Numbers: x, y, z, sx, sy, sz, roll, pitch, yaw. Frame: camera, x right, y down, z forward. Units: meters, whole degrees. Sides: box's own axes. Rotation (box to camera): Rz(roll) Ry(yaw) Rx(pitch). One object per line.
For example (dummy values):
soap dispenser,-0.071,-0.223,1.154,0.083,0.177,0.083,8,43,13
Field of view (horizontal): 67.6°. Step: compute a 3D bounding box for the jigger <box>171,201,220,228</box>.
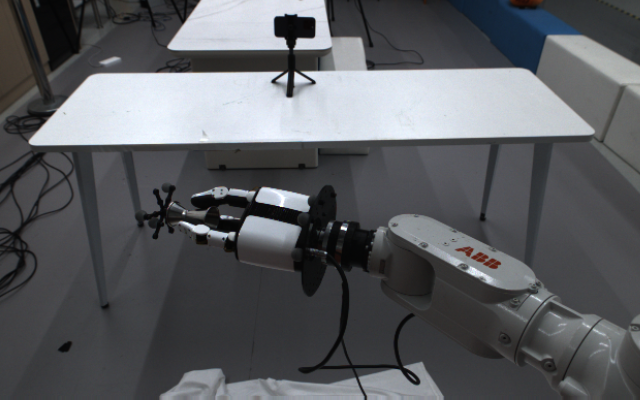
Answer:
jigger,-0.185,0.020,0.735,0.071,0.043,0.043,7,35,17
